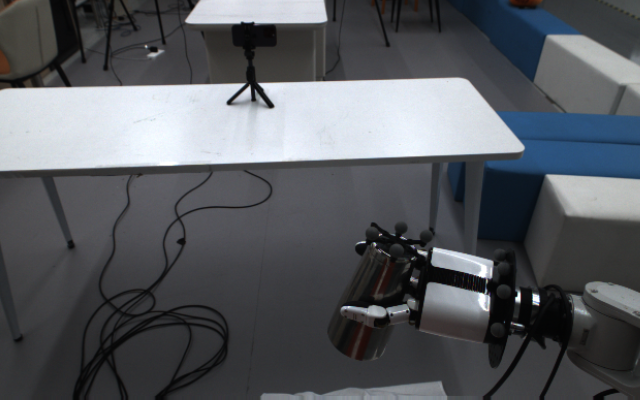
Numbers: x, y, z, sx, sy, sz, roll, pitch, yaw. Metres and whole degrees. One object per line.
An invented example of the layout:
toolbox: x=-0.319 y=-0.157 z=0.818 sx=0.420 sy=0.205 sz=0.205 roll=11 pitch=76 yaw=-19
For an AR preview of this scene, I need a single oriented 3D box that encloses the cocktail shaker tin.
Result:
cocktail shaker tin: x=0.079 y=0.129 z=0.679 sx=0.093 sy=0.170 sz=0.093 roll=12 pitch=29 yaw=-7
